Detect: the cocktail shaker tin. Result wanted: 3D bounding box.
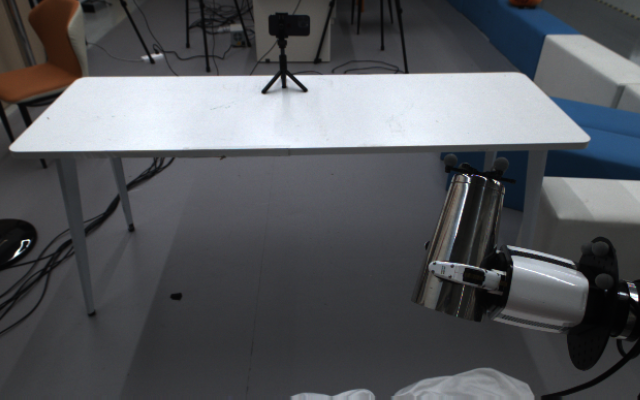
[{"bbox_3d":[0.182,0.057,0.615,0.093,0.170,0.093,15,-4,1],"label":"cocktail shaker tin"}]
